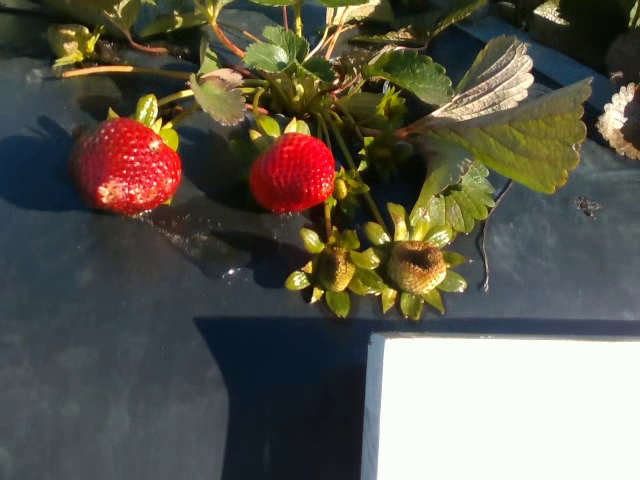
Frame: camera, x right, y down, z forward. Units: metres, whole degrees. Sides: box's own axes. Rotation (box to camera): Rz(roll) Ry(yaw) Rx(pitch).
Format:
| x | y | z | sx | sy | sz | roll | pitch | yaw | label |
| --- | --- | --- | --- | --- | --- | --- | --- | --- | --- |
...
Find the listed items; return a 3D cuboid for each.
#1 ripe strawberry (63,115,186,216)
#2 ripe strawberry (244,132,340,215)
| x | y | z | sx | sy | sz | roll | pitch | yaw | label |
| --- | --- | --- | --- | --- | --- | --- | --- | --- | --- |
| -0.079 | -0.026 | 0.232 | 0.050 | 0.045 | 0.050 | 21 | 17 | -9 | ripe strawberry |
| -0.008 | -0.026 | 0.248 | 0.042 | 0.039 | 0.049 | -41 | 31 | -6 | ripe strawberry |
